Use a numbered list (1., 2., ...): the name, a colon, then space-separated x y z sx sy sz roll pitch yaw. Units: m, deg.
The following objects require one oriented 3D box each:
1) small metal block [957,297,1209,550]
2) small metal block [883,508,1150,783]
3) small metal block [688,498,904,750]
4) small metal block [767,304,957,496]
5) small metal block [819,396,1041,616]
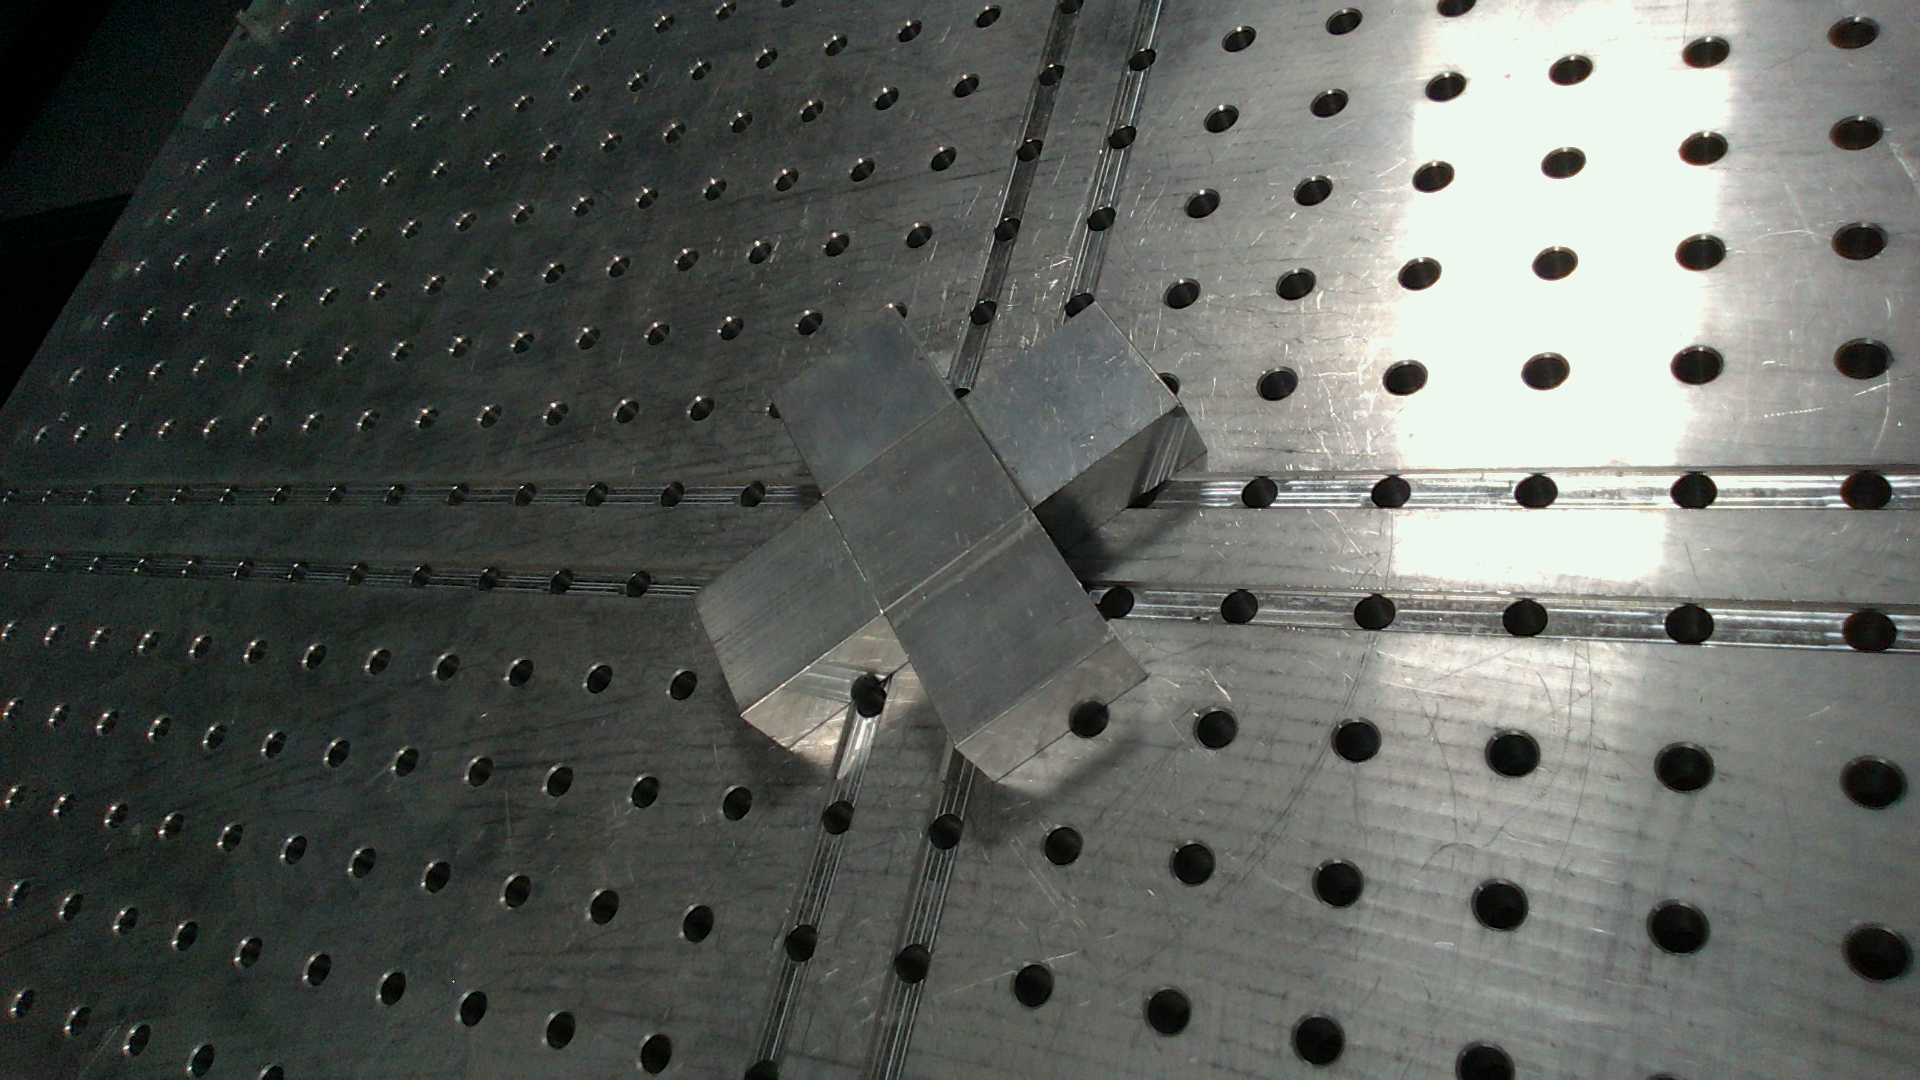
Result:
1. small metal block: 0.035 -0.034 0.398 0.050 0.025 0.050 -36 51 5
2. small metal block: 0.014 0.028 0.372 0.050 0.025 0.050 -35 51 5
3. small metal block: -0.046 0.024 0.407 0.050 0.025 0.050 -36 51 5
4. small metal block: -0.026 -0.038 0.435 0.050 0.025 0.050 -35 51 5
5. small metal block: -0.006 -0.006 0.402 0.050 0.025 0.050 -36 51 5
